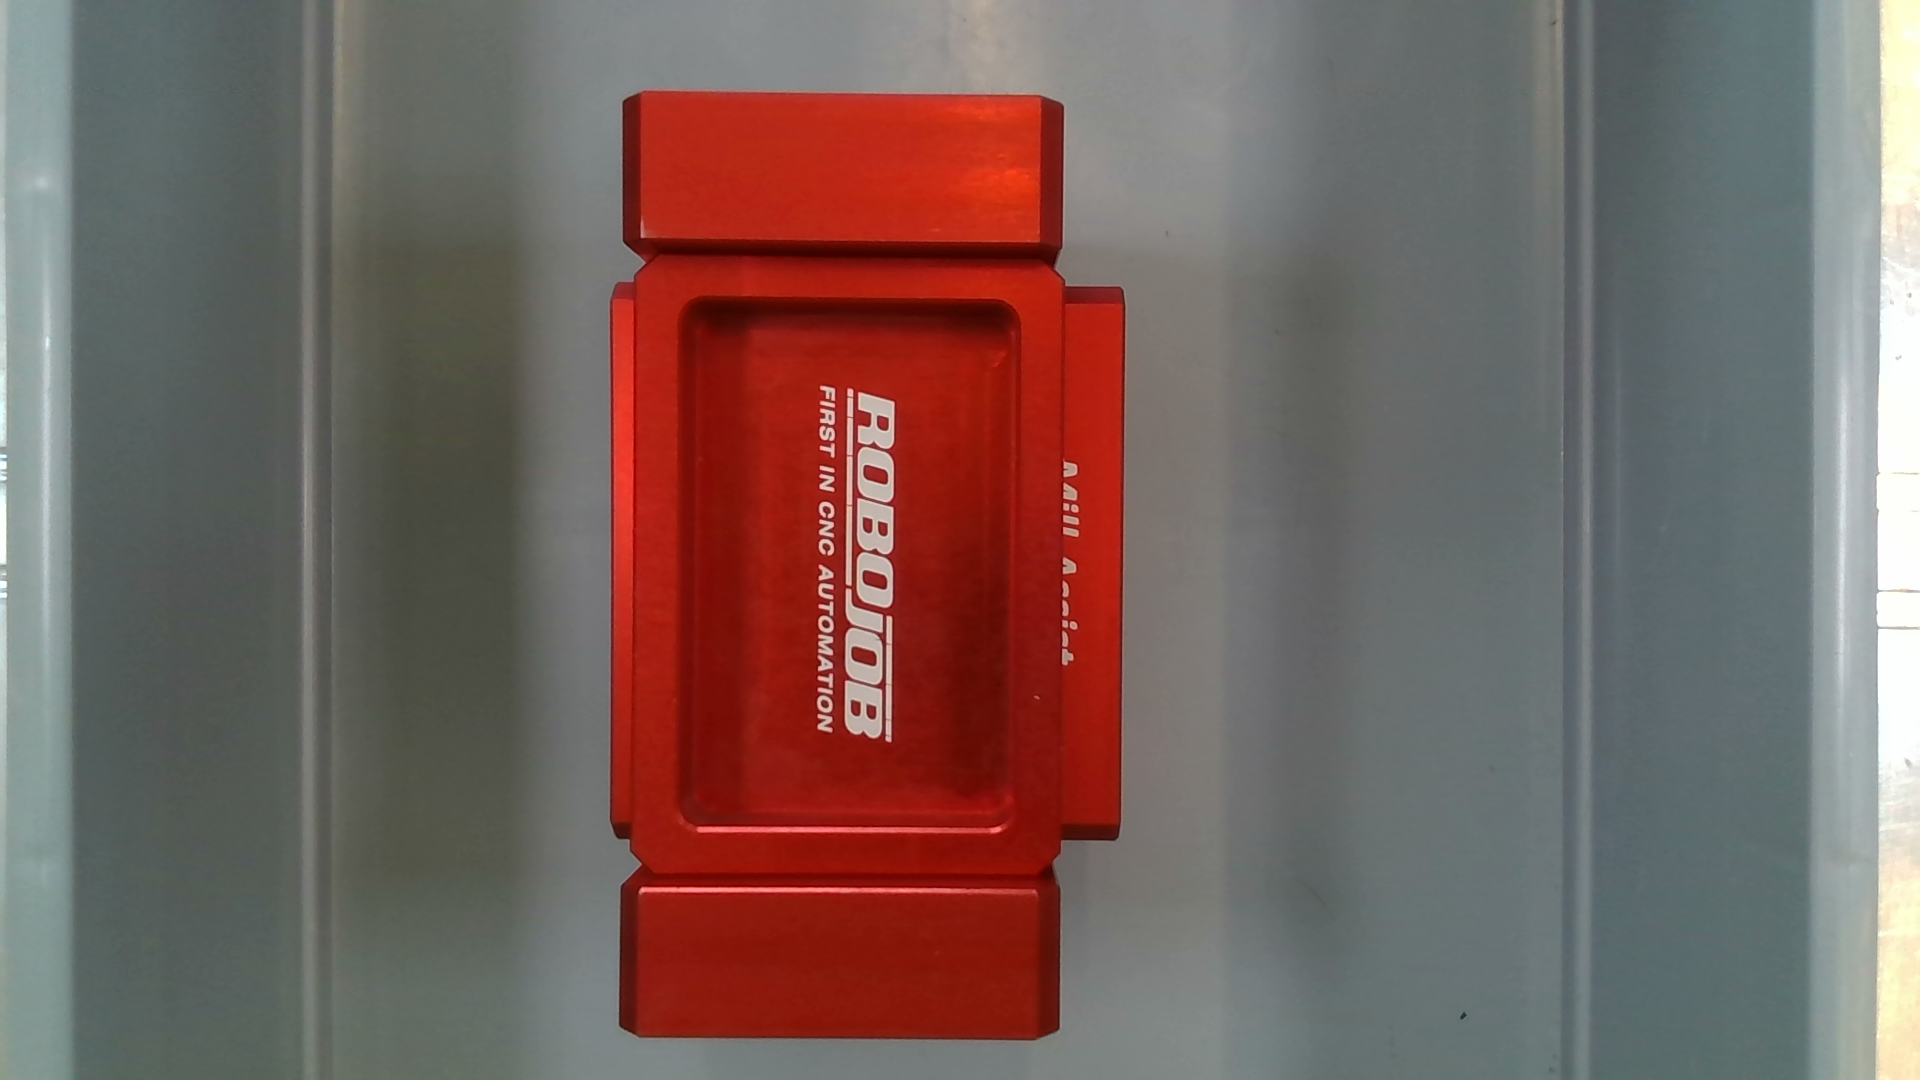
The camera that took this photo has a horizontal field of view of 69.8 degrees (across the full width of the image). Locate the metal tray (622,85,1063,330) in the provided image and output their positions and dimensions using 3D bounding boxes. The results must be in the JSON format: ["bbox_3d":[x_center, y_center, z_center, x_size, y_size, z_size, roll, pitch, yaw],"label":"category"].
[{"bbox_3d":[-0.024,-0.076,0.341,0.090,0.130,0.030,0,90,0],"label":"metal tray"}]

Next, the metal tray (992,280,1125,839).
[{"bbox_3d":[0.023,0.005,0.360,0.030,0.090,0.130,0,90,1],"label":"metal tray"}]

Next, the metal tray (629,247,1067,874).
[{"bbox_3d":[-0.023,0.004,0.301,0.090,0.030,0.130,1,90,0],"label":"metal tray"}]

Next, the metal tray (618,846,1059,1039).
[{"bbox_3d":[-0.024,0.085,0.341,0.090,0.130,0.030,1,90,0],"label":"metal tray"}]

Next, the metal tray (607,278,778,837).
[{"bbox_3d":[-0.066,0.004,0.360,0.030,0.090,0.130,0,90,-1],"label":"metal tray"}]
